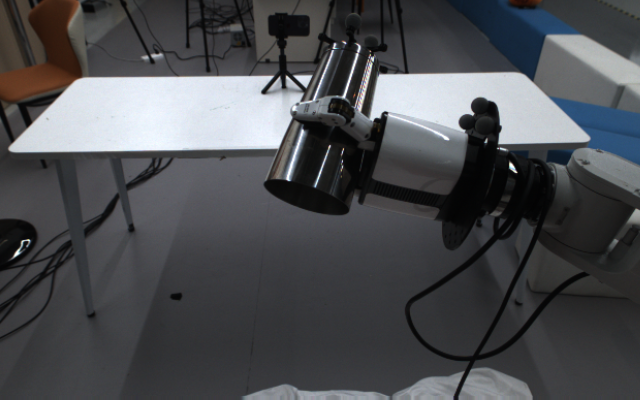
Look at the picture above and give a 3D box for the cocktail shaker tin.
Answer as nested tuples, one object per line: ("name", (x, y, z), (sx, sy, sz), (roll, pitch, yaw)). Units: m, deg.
("cocktail shaker tin", (0.013, -0.078, 0.518), (0.093, 0.093, 0.170), (13, 74, 16))
